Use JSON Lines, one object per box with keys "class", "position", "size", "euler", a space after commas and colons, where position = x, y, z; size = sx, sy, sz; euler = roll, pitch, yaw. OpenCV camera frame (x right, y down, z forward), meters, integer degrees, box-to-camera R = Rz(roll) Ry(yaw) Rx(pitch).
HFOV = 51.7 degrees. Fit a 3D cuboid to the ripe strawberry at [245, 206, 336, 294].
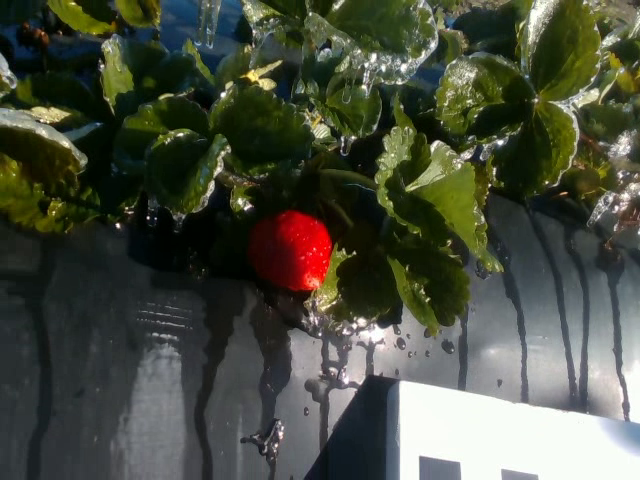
{"class": "ripe strawberry", "position": [-0.010, 0.007, 0.289], "size": [0.041, 0.047, 0.053], "euler": [7, 19, -14]}
